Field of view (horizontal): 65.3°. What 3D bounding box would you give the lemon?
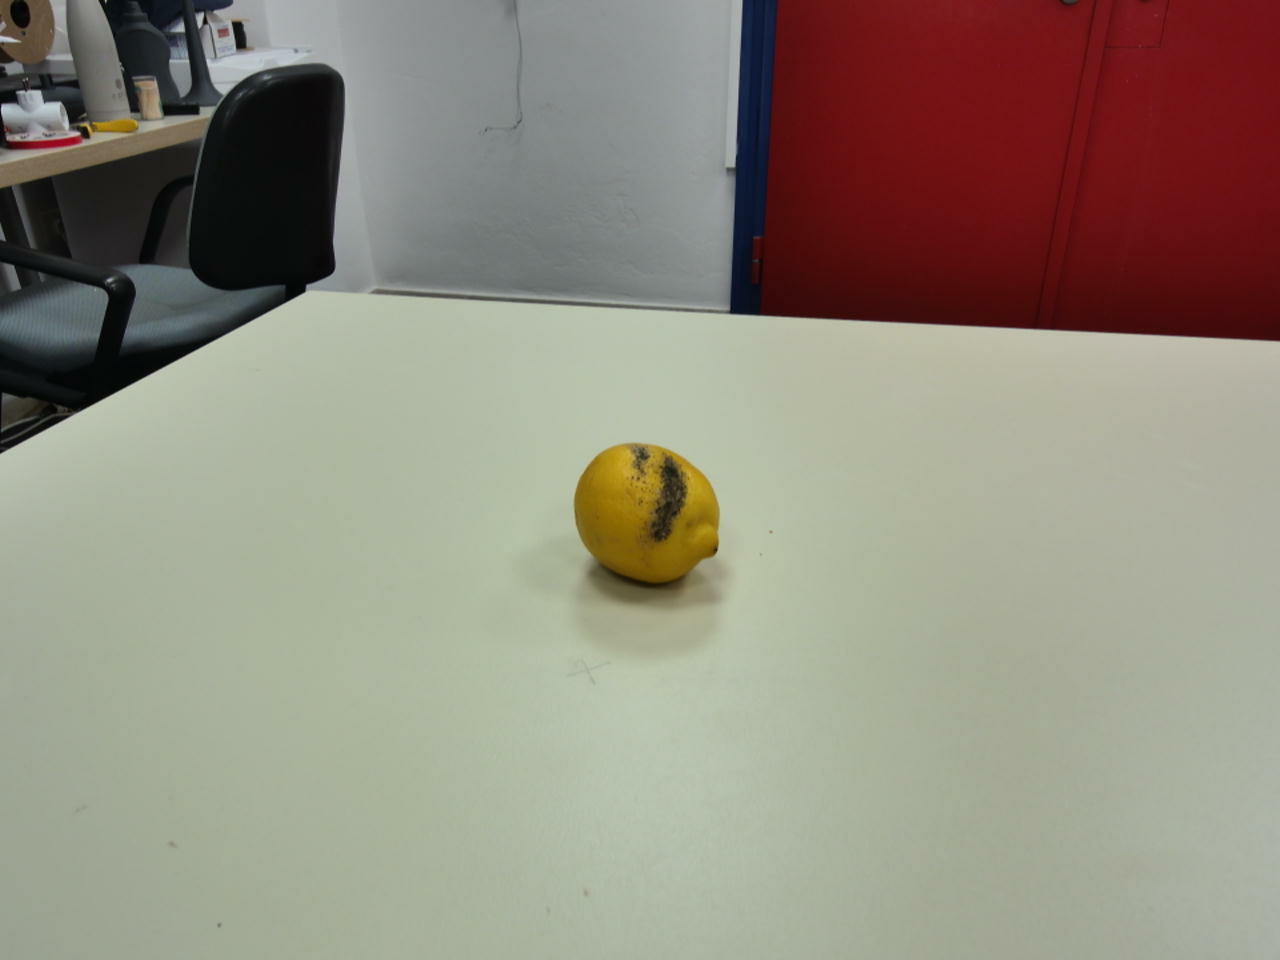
[{"bbox_3d":[0.003,0.013,0.419,0.061,0.056,0.058,2,24,5],"label":"lemon"}]
